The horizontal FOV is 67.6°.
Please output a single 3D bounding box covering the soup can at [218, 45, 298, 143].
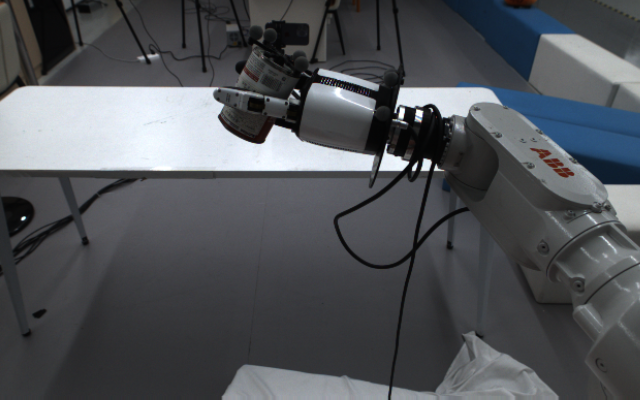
[{"bbox_3d":[-0.076,-0.132,0.613,0.067,0.101,0.067,28,22,-12],"label":"soup can"}]
